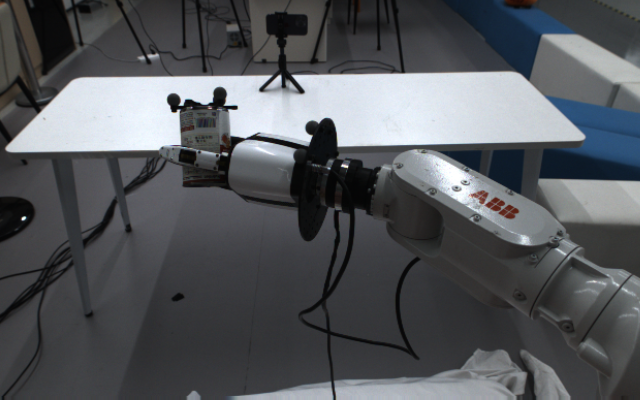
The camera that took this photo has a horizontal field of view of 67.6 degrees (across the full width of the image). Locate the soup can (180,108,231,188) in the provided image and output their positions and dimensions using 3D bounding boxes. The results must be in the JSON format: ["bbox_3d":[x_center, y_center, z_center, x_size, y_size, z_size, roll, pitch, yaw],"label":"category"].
[{"bbox_3d":[-0.153,-0.069,0.650,0.067,0.101,0.067,-3,-1,0],"label":"soup can"}]
